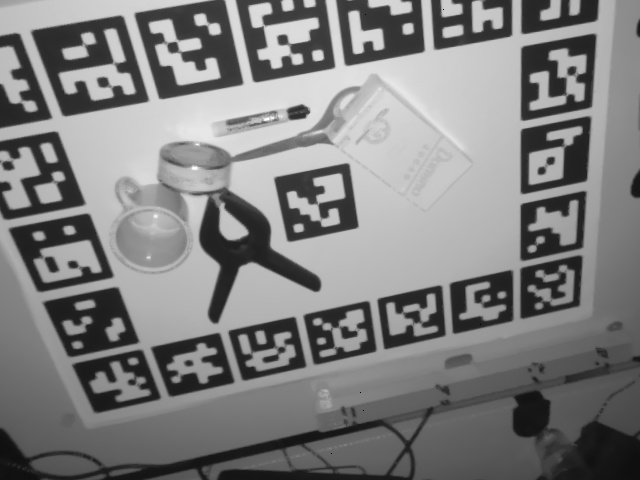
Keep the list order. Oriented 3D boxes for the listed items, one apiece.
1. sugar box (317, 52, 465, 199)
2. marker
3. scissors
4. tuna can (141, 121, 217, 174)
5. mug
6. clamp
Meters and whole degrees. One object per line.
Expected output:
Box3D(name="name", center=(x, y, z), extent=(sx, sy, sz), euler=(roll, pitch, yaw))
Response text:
Box3D(name="sugar box", center=(0.090, -0.136, 0.853), extent=(0.092, 0.045, 0.177), euler=(-43, 121, 15))
Box3D(name="marker", center=(-0.072, -0.173, 0.829), extent=(0.121, 0.020, 0.019), euler=(-13, 118, -2))
Box3D(name="scissors", center=(-0.021, -0.144, 0.849), extent=(0.202, 0.016, 0.087), euler=(-19, 123, 3))
Box3D(name="tuna can", center=(-0.164, -0.110, 0.810), extent=(0.086, 0.086, 0.033), euler=(5, 118, -11))
Box3D(name="mug", center=(-0.216, -0.056, 0.836), extent=(0.093, 0.082, 0.117), euler=(-34, 121, 11))
Box3D(name="clamp", center=(-0.117, -0.007, 0.911), extent=(0.165, 0.037, 0.202), euler=(-19, 118, 2))
